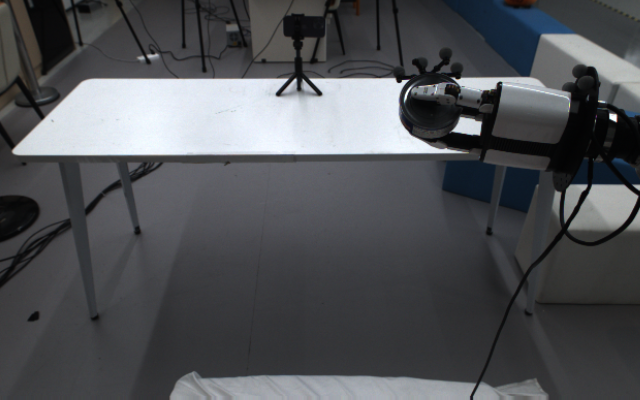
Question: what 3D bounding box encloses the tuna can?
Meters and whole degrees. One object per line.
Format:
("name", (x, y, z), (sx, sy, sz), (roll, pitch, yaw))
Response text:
("tuna can", (0.150, -0.129, 0.661), (0.085, 0.034, 0.085), (-2, 69, 6))
